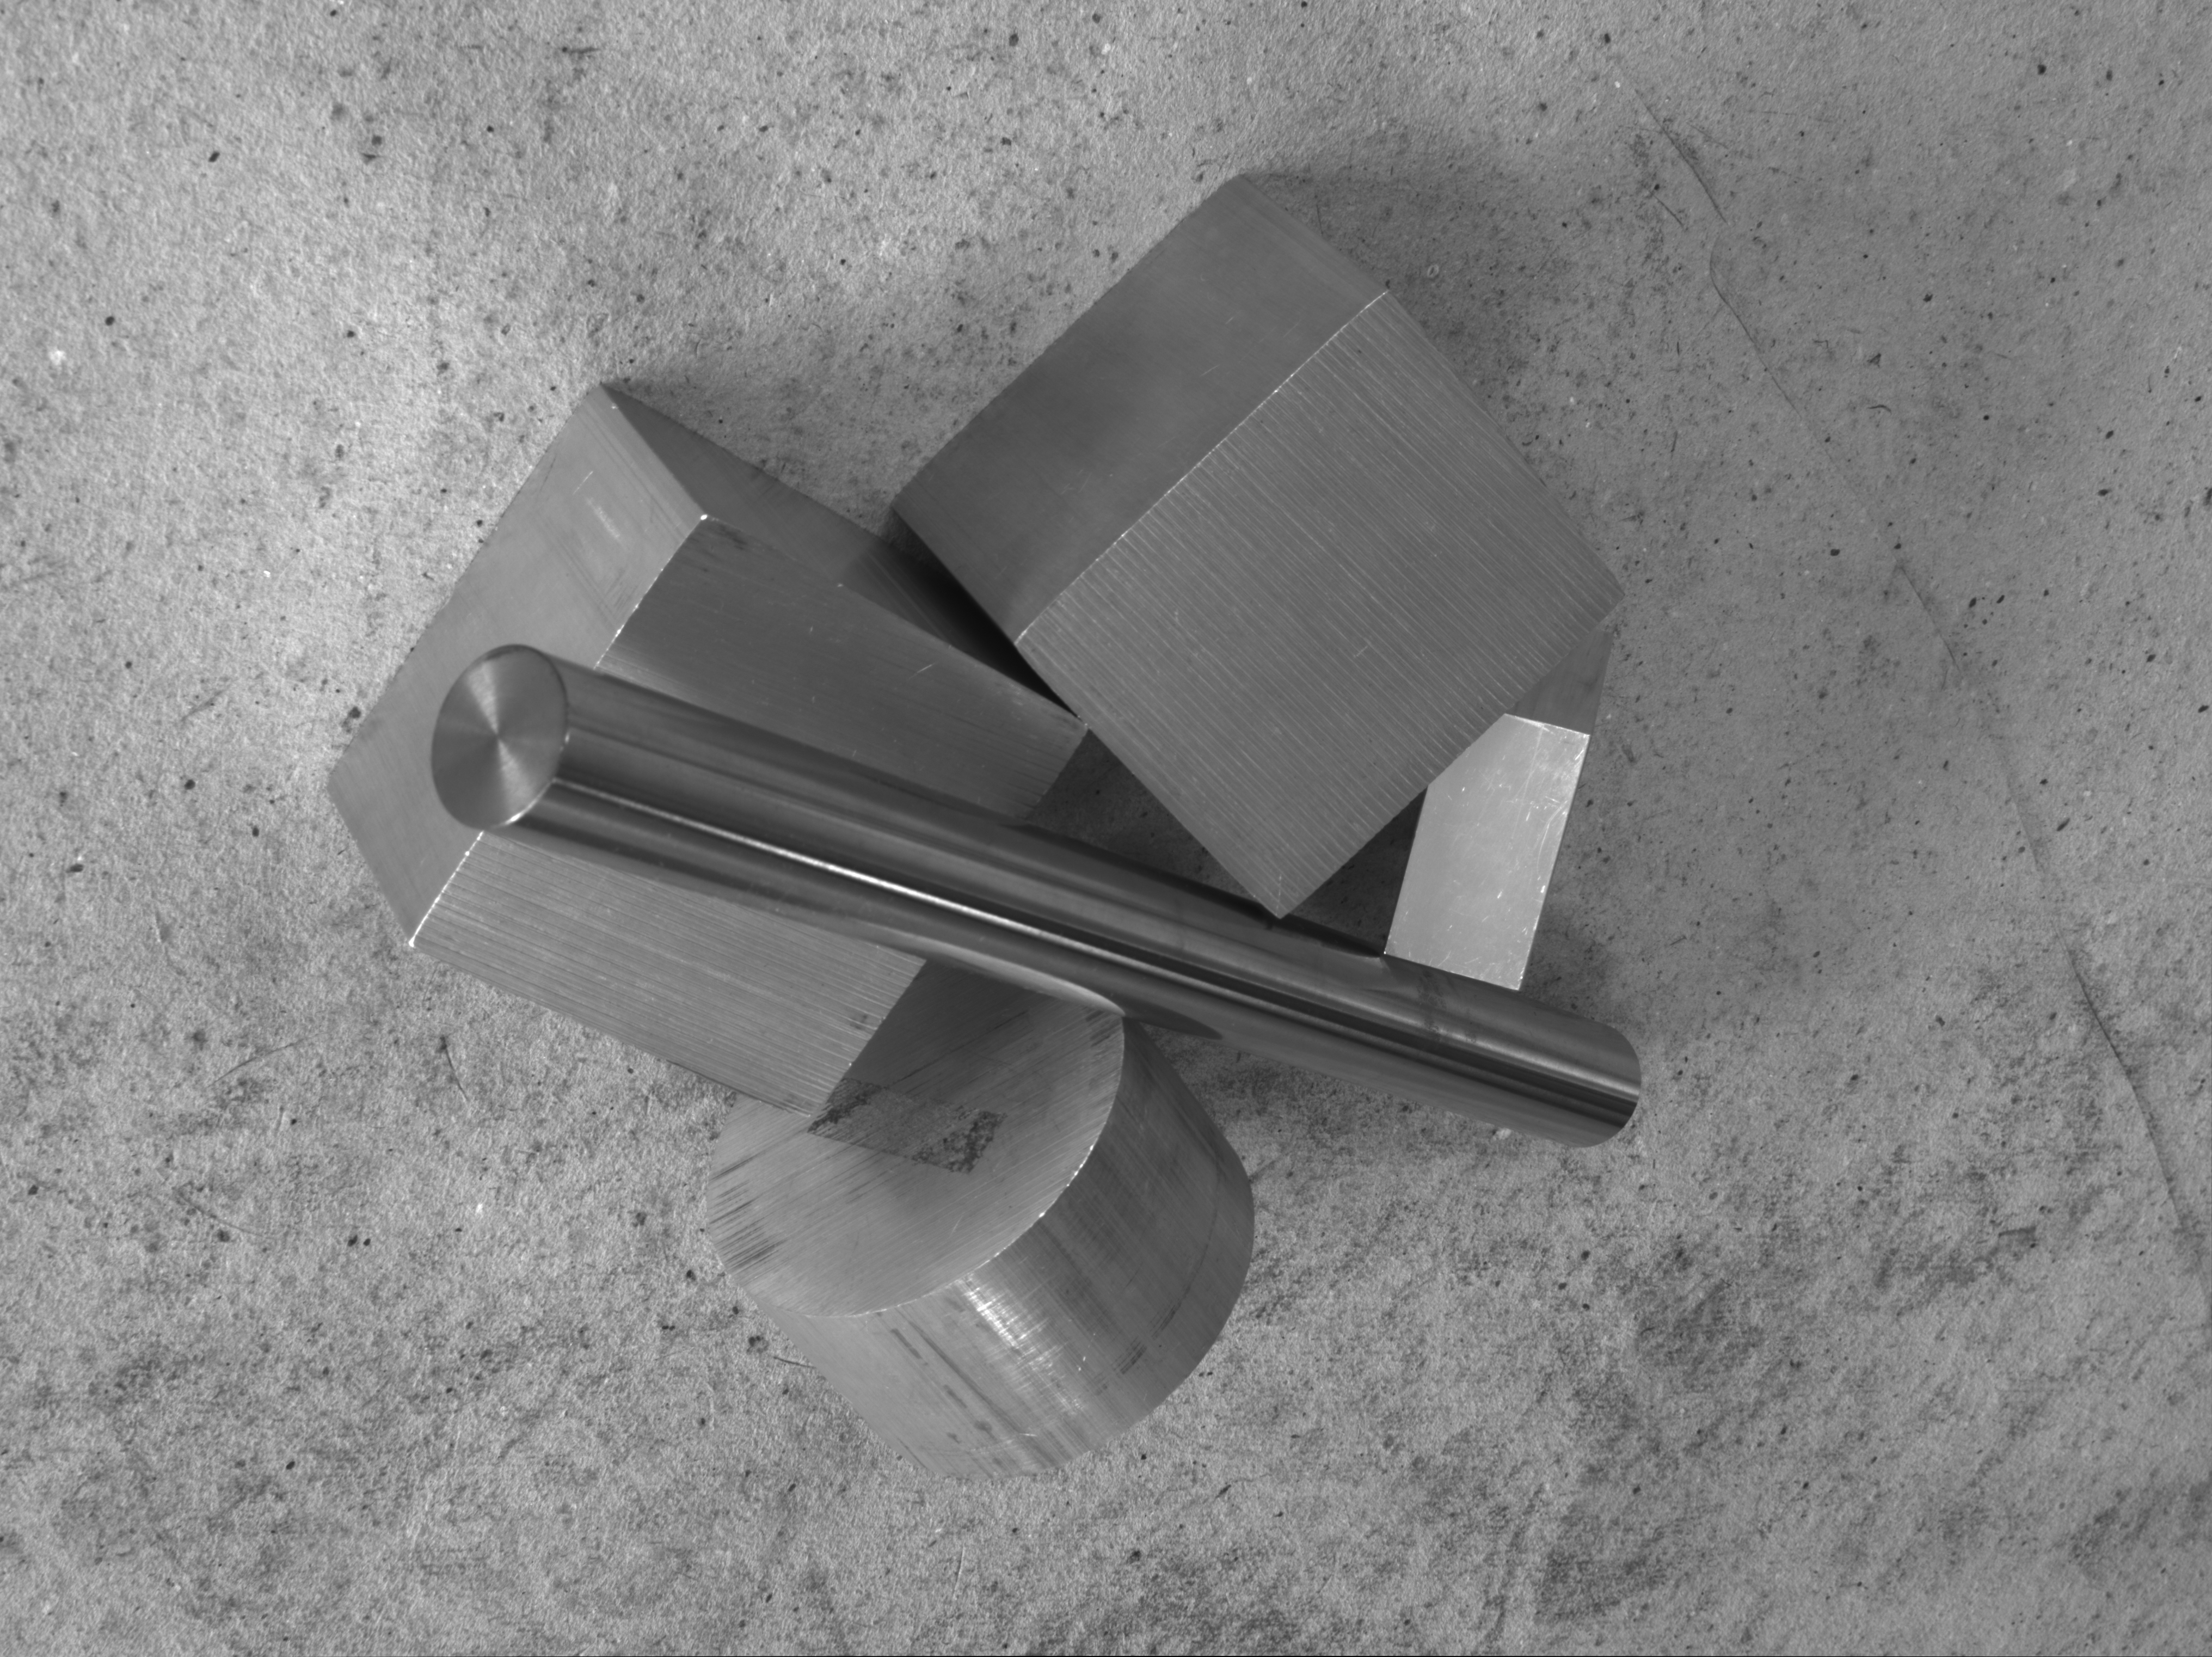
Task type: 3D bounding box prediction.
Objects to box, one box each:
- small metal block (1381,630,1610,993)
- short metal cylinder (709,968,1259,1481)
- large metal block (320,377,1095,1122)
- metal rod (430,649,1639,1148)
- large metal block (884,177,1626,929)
[{"bbox_3d":[0.070,-0.007,0.652,0.025,0.050,0.050,15,116,5],"label":"small metal block"},{"bbox_3d":[-0.021,0.064,0.630,0.080,0.080,0.050,-38,129,-3],"label":"short metal cylinder"},{"bbox_3d":[-0.063,-0.011,0.581,0.080,0.050,0.080,28,103,-37],"label":"large metal block"},{"bbox_3d":[0.007,0.020,0.601,0.301,0.025,0.025,20,109,-52],"label":"metal rod"},{"bbox_3d":[0.025,-0.045,0.605,0.080,0.050,0.080,-43,129,1],"label":"large metal block"}]
